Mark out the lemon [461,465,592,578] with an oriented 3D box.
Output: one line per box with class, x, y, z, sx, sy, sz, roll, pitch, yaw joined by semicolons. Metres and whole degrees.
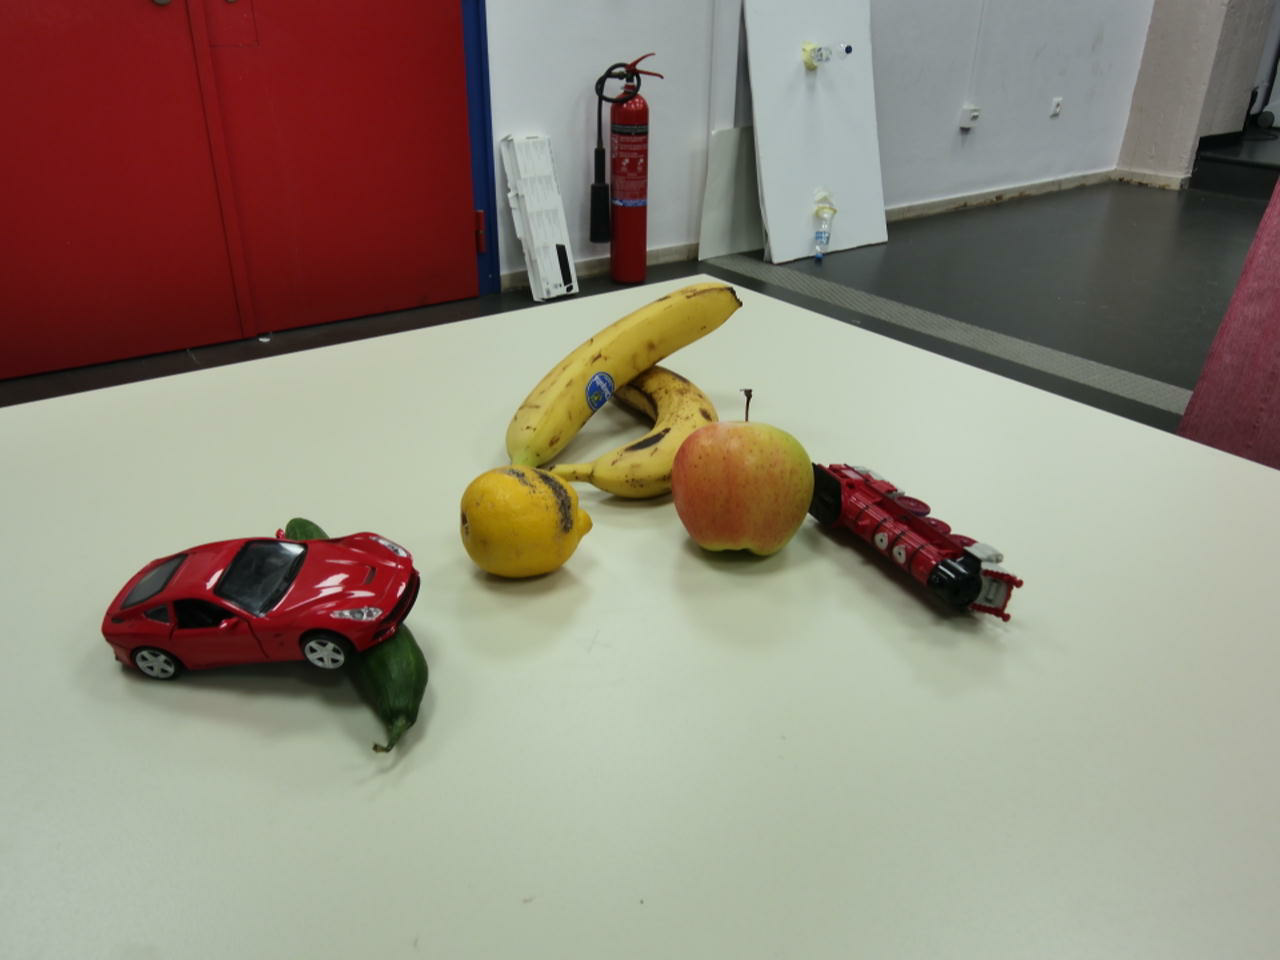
lemon;-0.060;0.020;0.500;0.058;0.056;0.061;23;33;40
